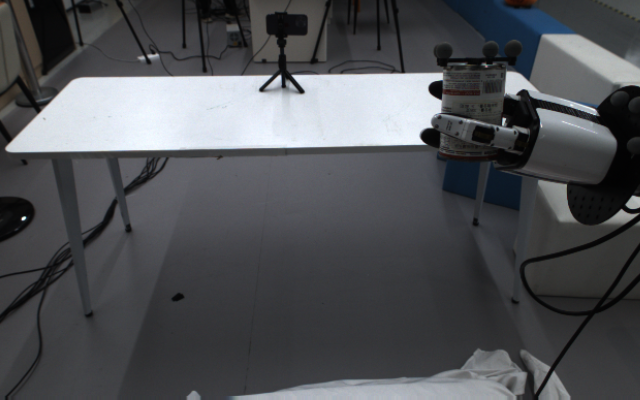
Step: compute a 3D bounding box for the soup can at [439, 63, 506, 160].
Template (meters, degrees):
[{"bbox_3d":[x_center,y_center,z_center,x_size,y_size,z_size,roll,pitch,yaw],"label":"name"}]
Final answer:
[{"bbox_3d":[0.171,-0.099,0.540,0.067,0.101,0.067,-1,17,0],"label":"soup can"}]
